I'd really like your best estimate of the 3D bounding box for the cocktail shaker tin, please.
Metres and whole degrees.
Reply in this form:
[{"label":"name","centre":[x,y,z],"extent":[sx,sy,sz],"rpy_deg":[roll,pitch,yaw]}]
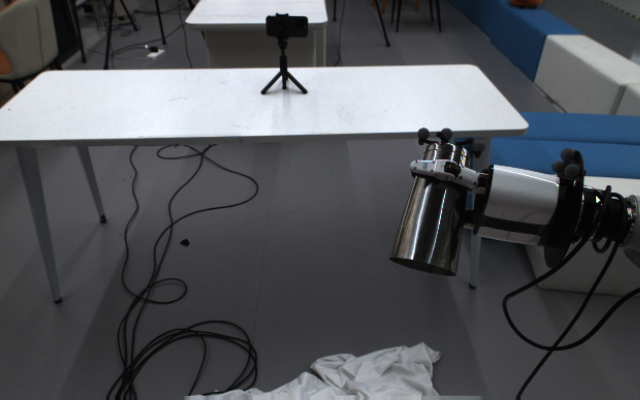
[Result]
[{"label":"cocktail shaker tin","centre":[0.163,0.007,0.673],"extent":[0.093,0.093,0.170],"rpy_deg":[13,77,15]}]
